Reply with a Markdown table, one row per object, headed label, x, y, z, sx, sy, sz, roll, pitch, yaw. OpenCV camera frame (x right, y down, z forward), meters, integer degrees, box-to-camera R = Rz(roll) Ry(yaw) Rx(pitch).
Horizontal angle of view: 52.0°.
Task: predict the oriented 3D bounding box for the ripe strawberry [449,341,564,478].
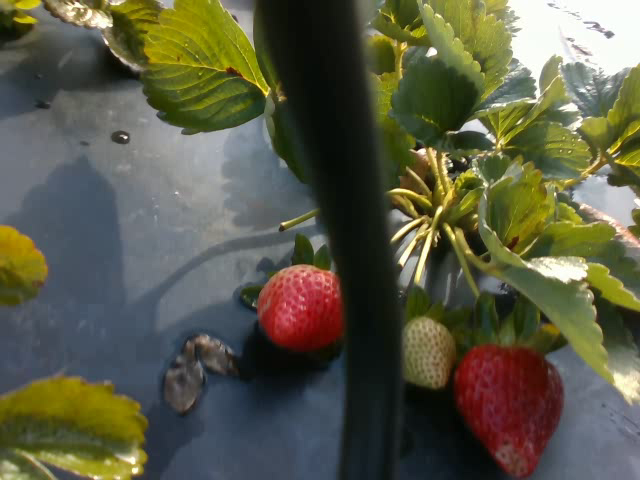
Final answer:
| label | x | y | z | sx | sy | sz | roll | pitch | yaw |
| --- | --- | --- | --- | --- | --- | --- | --- | --- | --- |
| ripe strawberry | 0.077 | 0.070 | 0.265 | 0.048 | 0.065 | 0.050 | -13 | -46 | 27 |
